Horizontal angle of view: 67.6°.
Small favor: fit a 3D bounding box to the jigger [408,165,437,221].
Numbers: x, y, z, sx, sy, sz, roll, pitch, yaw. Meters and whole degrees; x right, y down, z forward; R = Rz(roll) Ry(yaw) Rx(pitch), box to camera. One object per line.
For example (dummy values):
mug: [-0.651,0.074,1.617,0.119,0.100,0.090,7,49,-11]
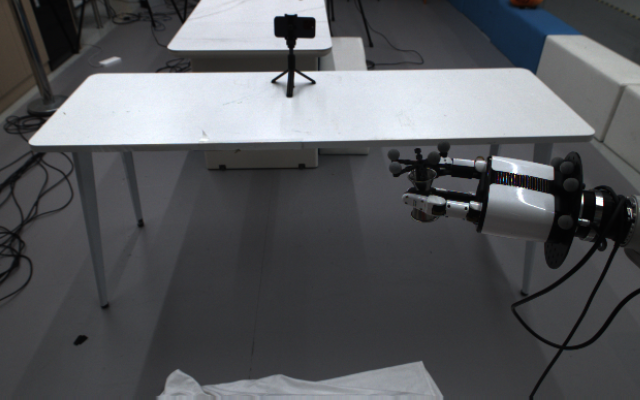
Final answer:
jigger: [0.149,-0.009,0.695,0.043,0.071,0.043,-10,32,6]
